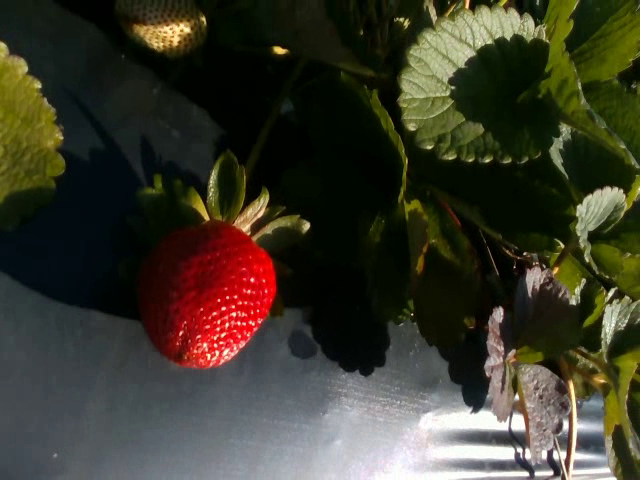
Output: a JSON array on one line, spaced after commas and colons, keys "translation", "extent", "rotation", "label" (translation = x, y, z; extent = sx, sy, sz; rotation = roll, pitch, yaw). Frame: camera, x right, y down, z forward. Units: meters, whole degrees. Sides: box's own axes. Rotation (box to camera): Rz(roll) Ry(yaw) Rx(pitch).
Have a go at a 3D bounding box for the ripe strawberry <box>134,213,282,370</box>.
[{"translation": [-0.032, 0.019, 0.150], "extent": [0.043, 0.043, 0.050], "rotation": [-26, 21, 17], "label": "ripe strawberry"}]
